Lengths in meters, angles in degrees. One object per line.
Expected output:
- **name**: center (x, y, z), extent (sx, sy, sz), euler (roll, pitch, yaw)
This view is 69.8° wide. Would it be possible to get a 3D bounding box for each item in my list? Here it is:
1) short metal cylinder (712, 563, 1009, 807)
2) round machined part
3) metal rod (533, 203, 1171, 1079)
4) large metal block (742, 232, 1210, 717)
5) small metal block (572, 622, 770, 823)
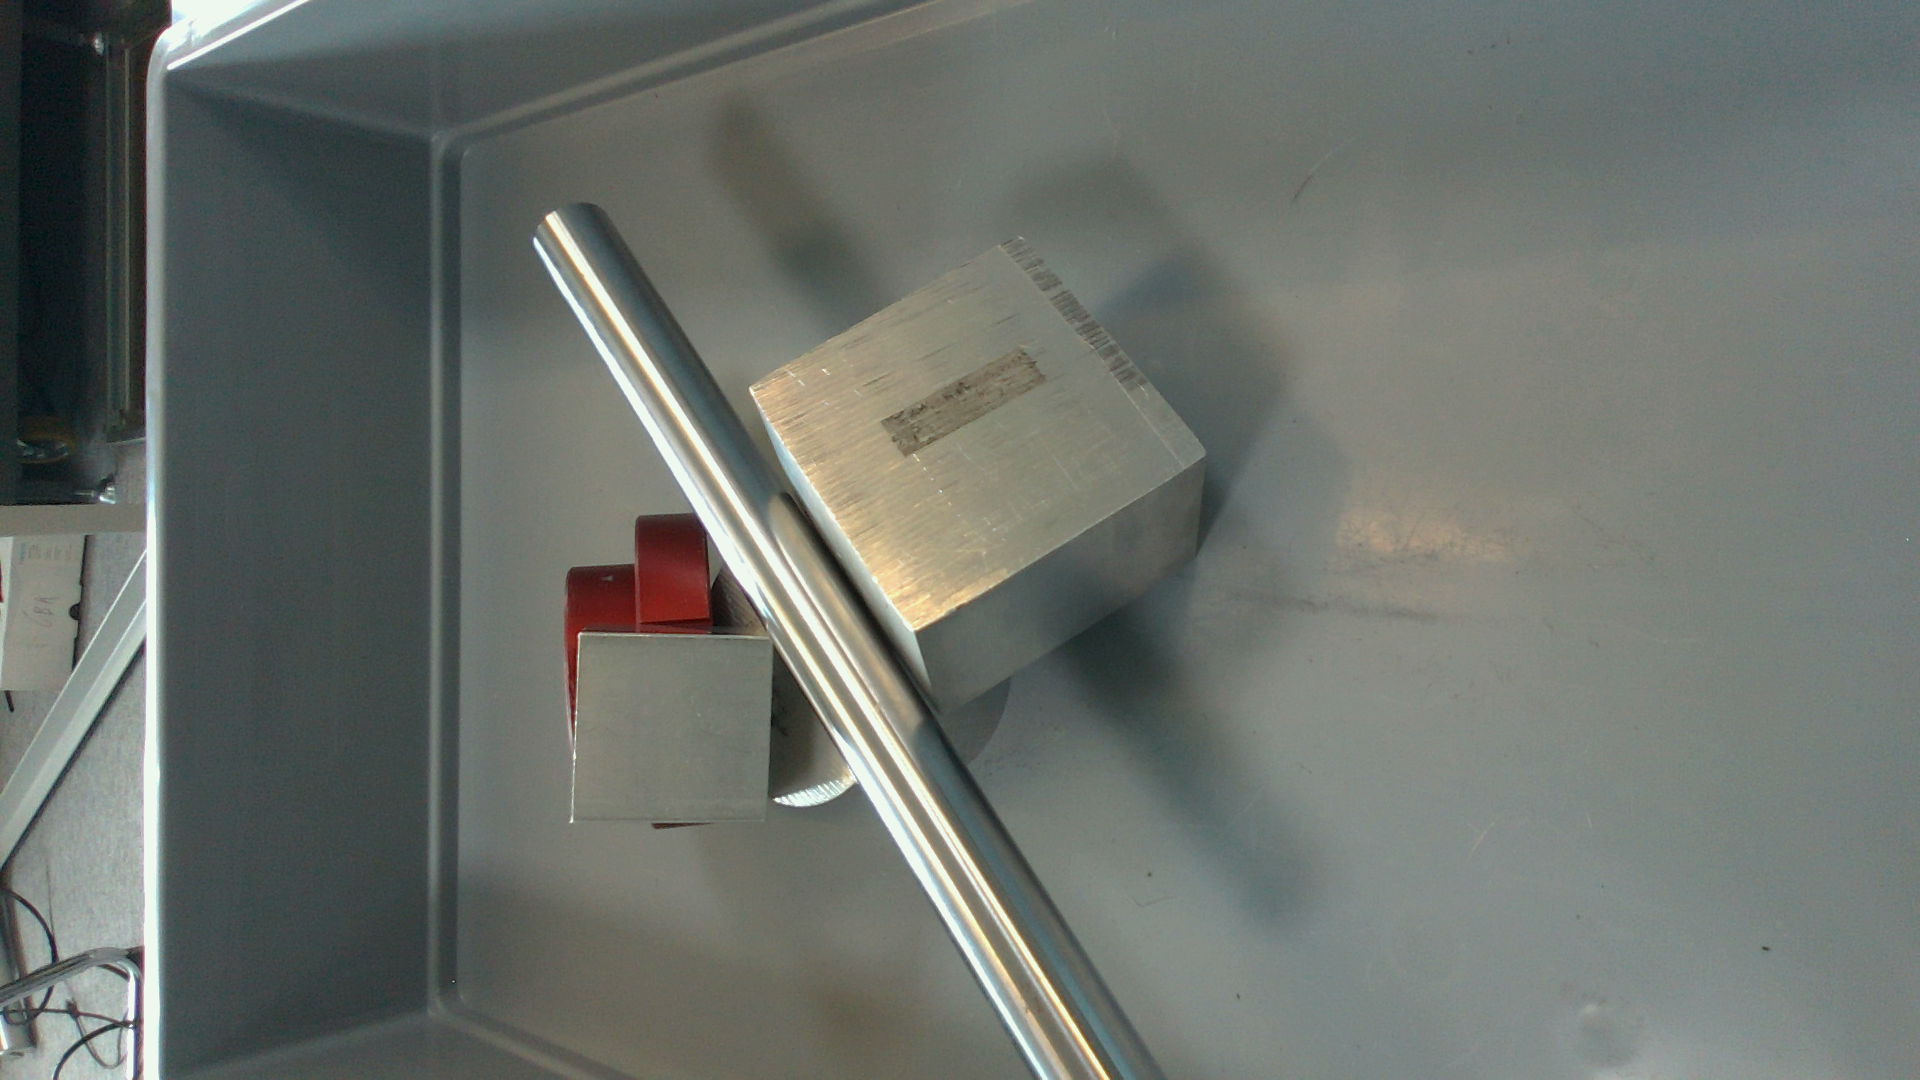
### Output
- **short metal cylinder**: center (-0.032, 0.034, 0.403), extent (0.080, 0.050, 0.080), euler (0, 90, 40)
- **round machined part**: center (-0.099, 0.041, 0.432), extent (0.098, 0.042, 0.098), euler (177, 90, -79)
- **metal rod**: center (-0.043, 0.015, 0.363), extent (0.025, 0.025, 0.299), euler (-51, 60, 28)
- **large metal block**: center (0.005, -0.017, 0.345), extent (0.080, 0.050, 0.080), euler (-31, 63, -10)
- **small metal block**: center (-0.078, 0.049, 0.374), extent (0.025, 0.050, 0.050), euler (-166, 78, -80)
